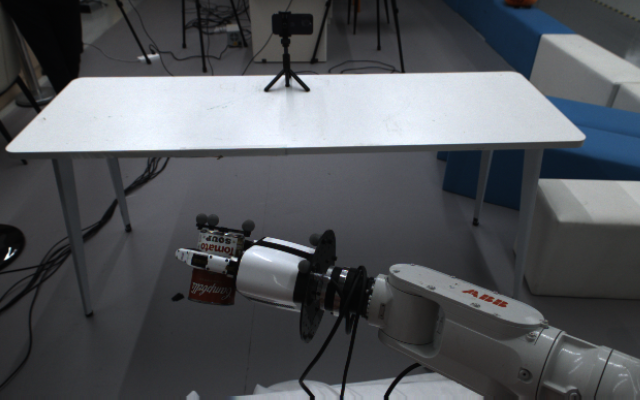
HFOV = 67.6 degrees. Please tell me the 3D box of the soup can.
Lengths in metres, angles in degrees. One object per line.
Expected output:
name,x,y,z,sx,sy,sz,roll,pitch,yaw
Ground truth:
soup can,-0.150,0.098,0.704,0.067,0.101,0.067,8,-6,1
